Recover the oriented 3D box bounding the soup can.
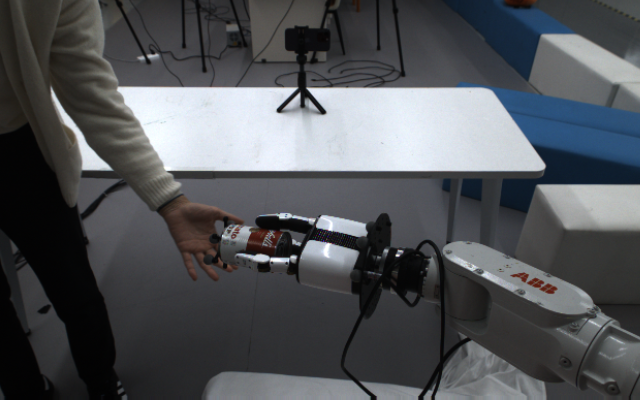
[{"bbox_3d":[-0.104,0.081,0.782,0.101,0.067,0.067,7,34,18],"label":"soup can"}]
